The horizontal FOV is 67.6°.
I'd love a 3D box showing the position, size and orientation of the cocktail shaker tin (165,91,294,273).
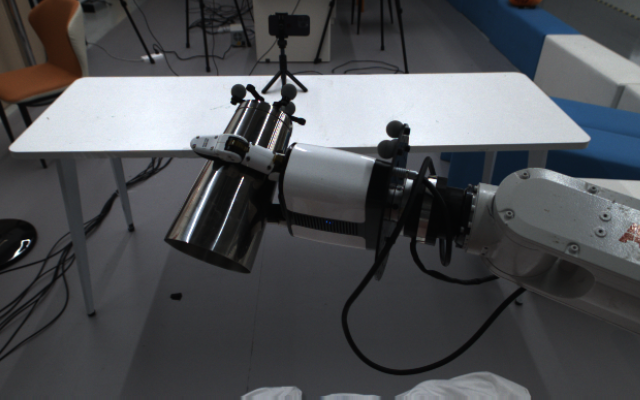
[{"bbox_3d":[-0.086,-0.018,0.516,0.093,0.093,0.170,13,70,15],"label":"cocktail shaker tin"}]
